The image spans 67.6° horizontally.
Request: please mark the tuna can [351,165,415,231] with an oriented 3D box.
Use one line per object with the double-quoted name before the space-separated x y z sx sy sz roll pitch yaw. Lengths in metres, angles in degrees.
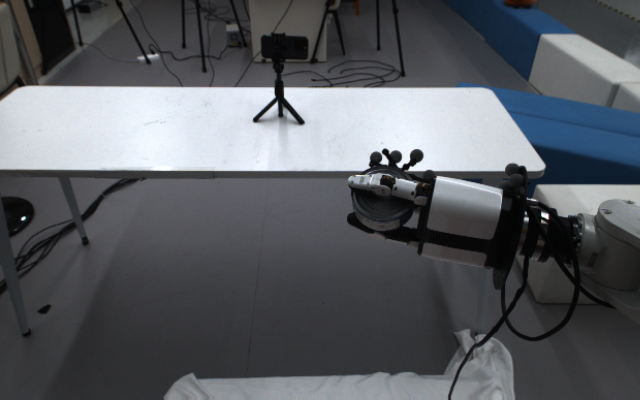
"tuna can" 0.086 -0.005 0.648 0.085 0.034 0.085 -4 56 6
